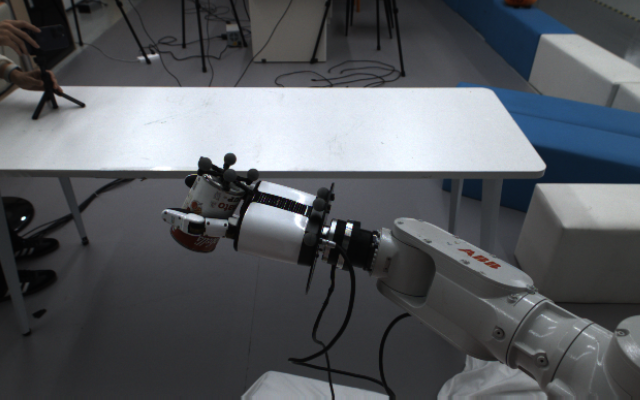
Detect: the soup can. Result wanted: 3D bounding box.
[{"bbox_3d":[-0.153,0.014,0.662,0.067,0.101,0.067,28,18,-10],"label":"soup can"}]
